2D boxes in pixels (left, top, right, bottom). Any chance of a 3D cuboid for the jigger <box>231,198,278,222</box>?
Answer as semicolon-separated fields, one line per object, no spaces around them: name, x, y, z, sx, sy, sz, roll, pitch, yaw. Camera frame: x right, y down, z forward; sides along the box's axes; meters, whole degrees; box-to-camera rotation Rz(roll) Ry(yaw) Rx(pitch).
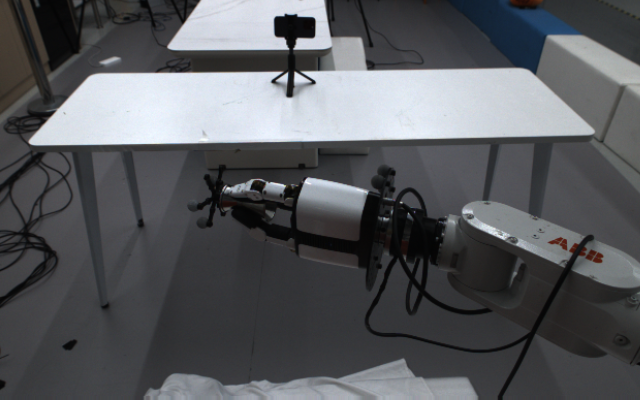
jigger;-0.092;-0.001;0.663;0.071;0.043;0.043;10;35;16
